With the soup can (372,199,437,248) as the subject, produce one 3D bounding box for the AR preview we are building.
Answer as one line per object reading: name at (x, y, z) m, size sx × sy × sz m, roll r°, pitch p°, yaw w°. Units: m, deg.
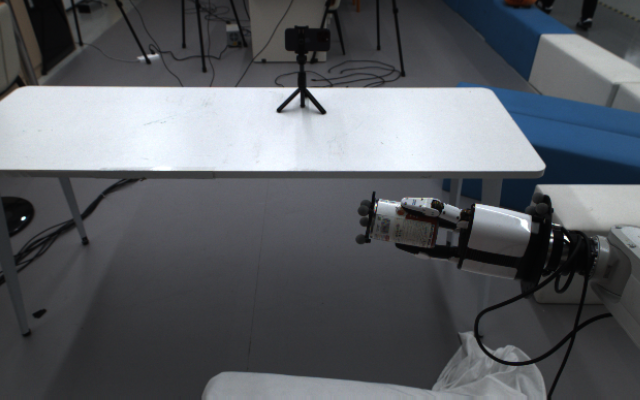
soup can at (0.138, 0.037, 0.776) m, size 0.101 × 0.067 × 0.067 m, roll 9°, pitch 35°, yaw 9°
